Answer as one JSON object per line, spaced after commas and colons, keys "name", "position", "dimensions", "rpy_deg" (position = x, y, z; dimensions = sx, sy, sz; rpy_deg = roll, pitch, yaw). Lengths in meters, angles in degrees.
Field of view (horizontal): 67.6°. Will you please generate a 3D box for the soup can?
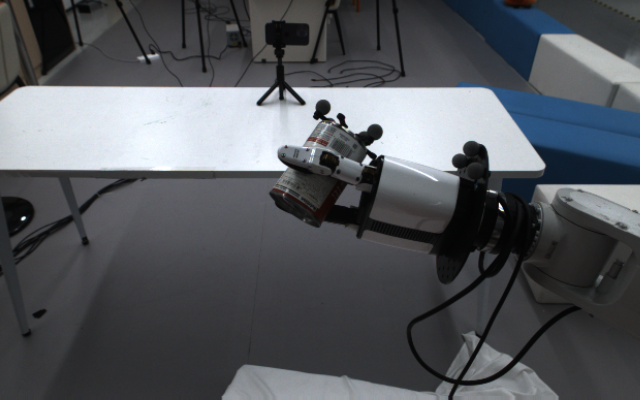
{"name": "soup can", "position": [-0.001, -0.031, 0.544], "dimensions": [0.067, 0.067, 0.101], "rpy_deg": [27, 76, 31]}
